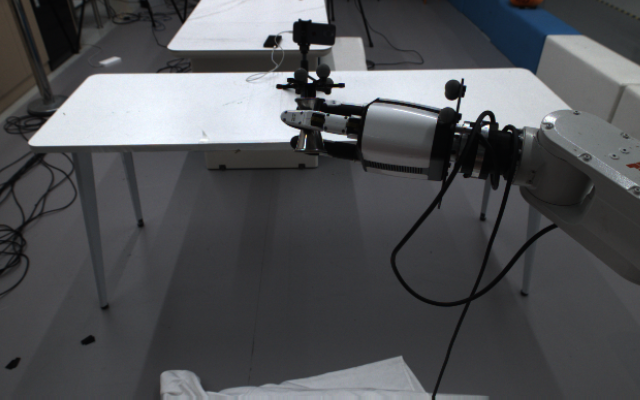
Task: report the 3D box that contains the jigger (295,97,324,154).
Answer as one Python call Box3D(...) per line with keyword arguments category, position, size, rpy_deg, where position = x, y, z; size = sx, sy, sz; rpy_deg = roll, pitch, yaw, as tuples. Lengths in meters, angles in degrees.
Box3D(category="jigger", position=(-0.012, -0.097, 0.632), size=(0.043, 0.071, 0.043), rpy_deg=(-1, 2, 0))
